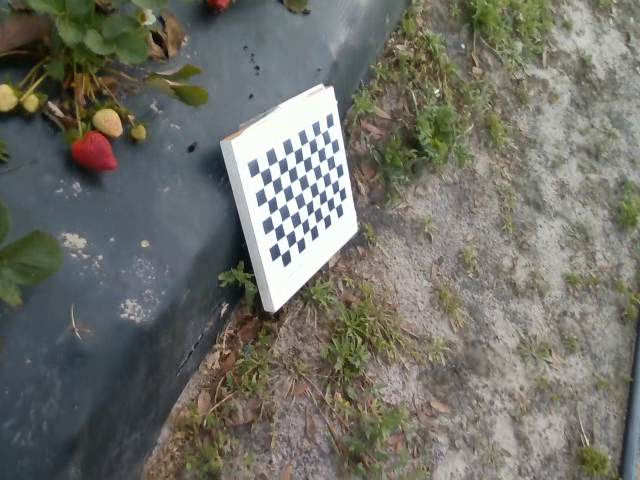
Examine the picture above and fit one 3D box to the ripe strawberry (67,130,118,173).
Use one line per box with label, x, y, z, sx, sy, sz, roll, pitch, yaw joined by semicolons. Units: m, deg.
ripe strawberry;-0.255;-0.098;0.661;0.059;0.050;0.034;35;-38;3
